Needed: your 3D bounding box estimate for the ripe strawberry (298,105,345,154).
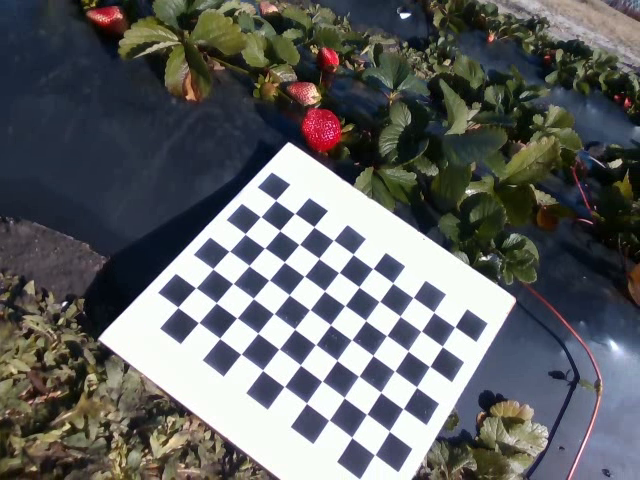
[{"bbox_3d":[-0.006,-0.122,0.624,0.058,0.066,0.061,-17,-21,15],"label":"ripe strawberry"}]
